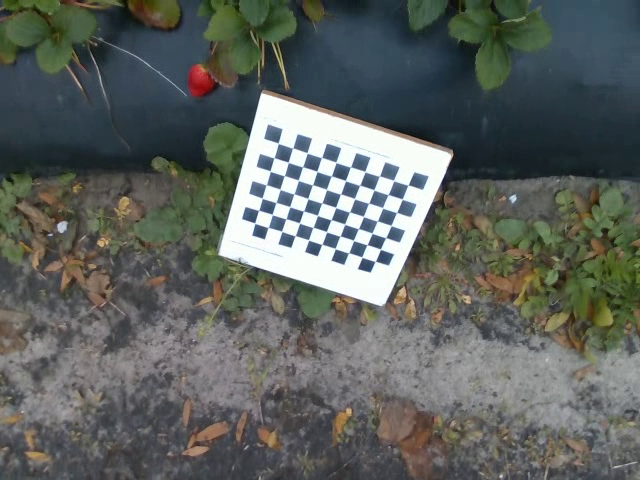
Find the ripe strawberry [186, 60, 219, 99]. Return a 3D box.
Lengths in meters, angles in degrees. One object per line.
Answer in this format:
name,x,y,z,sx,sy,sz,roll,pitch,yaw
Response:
ripe strawberry,-0.131,-0.157,1.537,0.028,0.033,0.023,34,24,4
